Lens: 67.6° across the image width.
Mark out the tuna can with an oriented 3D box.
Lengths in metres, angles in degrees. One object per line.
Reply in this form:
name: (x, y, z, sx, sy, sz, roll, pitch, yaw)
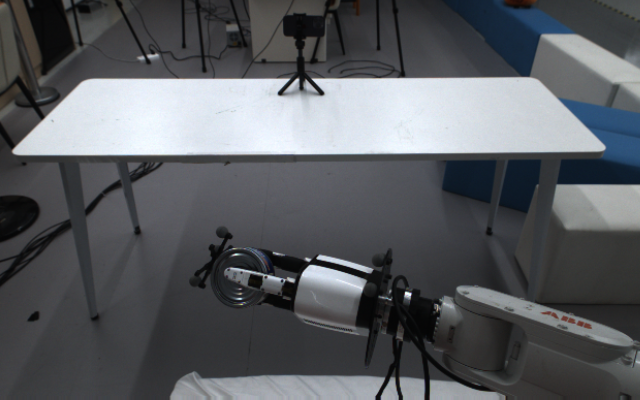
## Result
tuna can: (-0.106, 0.112, 0.675, 0.085, 0.085, 0.034, 9, -4, 10)
